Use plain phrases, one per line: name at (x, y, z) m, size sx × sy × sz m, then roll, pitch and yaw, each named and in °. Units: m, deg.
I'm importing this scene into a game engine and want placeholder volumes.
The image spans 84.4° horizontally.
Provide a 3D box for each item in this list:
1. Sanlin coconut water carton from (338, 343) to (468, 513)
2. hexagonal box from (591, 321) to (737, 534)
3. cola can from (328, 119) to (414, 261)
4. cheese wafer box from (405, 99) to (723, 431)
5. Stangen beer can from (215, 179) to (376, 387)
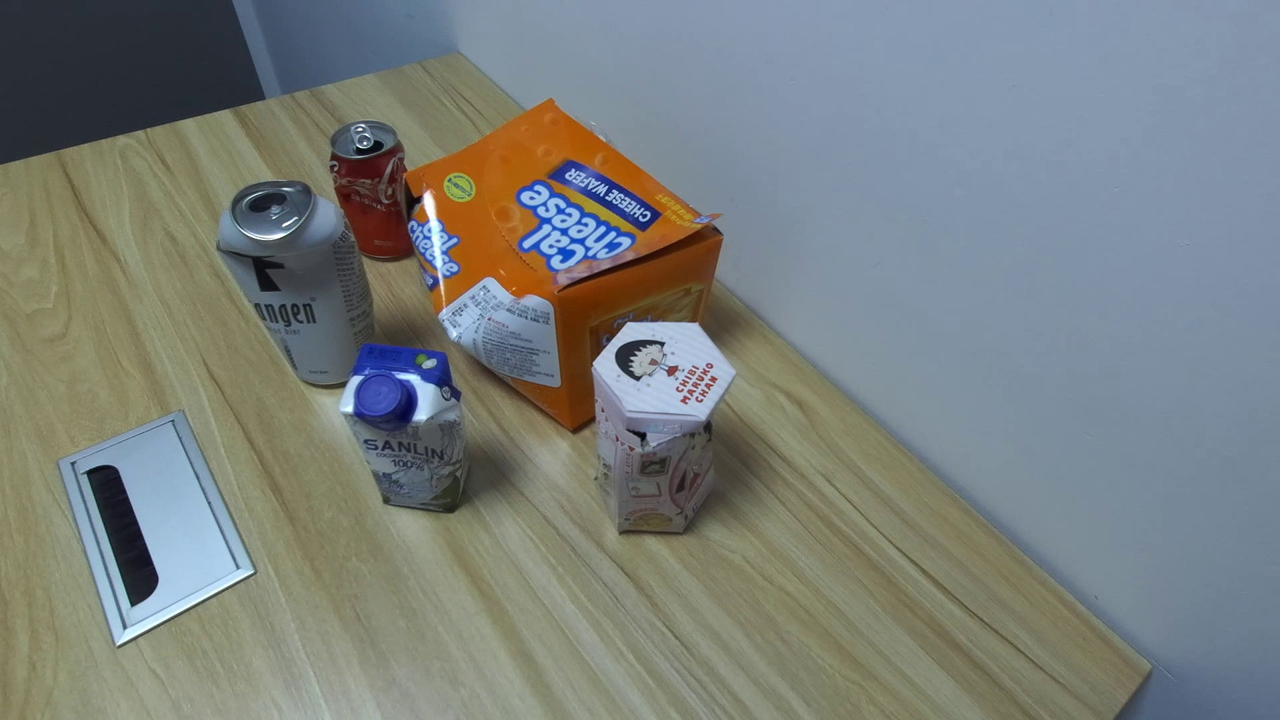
Sanlin coconut water carton at (-0.151, 0.046, 0.462) m, size 0.078 × 0.142 × 0.057 m, roll 7°, pitch 54°, yaw 1°
hexagonal box at (0.009, 0.050, 0.476) m, size 0.091 × 0.134 × 0.090 m, roll -12°, pitch 49°, yaw -14°
cola can at (-0.237, -0.151, 0.635) m, size 0.066 × 0.117 × 0.066 m, roll 10°, pitch 49°, yaw 1°
cheese wafer box at (-0.076, -0.079, 0.571) m, size 0.192 × 0.145 × 0.218 m, roll -33°, pitch 60°, yaw -28°
Stangen beer can at (-0.243, -0.051, 0.515) m, size 0.065 × 0.162 × 0.077 m, roll 40°, pitch 58°, yaw 23°
